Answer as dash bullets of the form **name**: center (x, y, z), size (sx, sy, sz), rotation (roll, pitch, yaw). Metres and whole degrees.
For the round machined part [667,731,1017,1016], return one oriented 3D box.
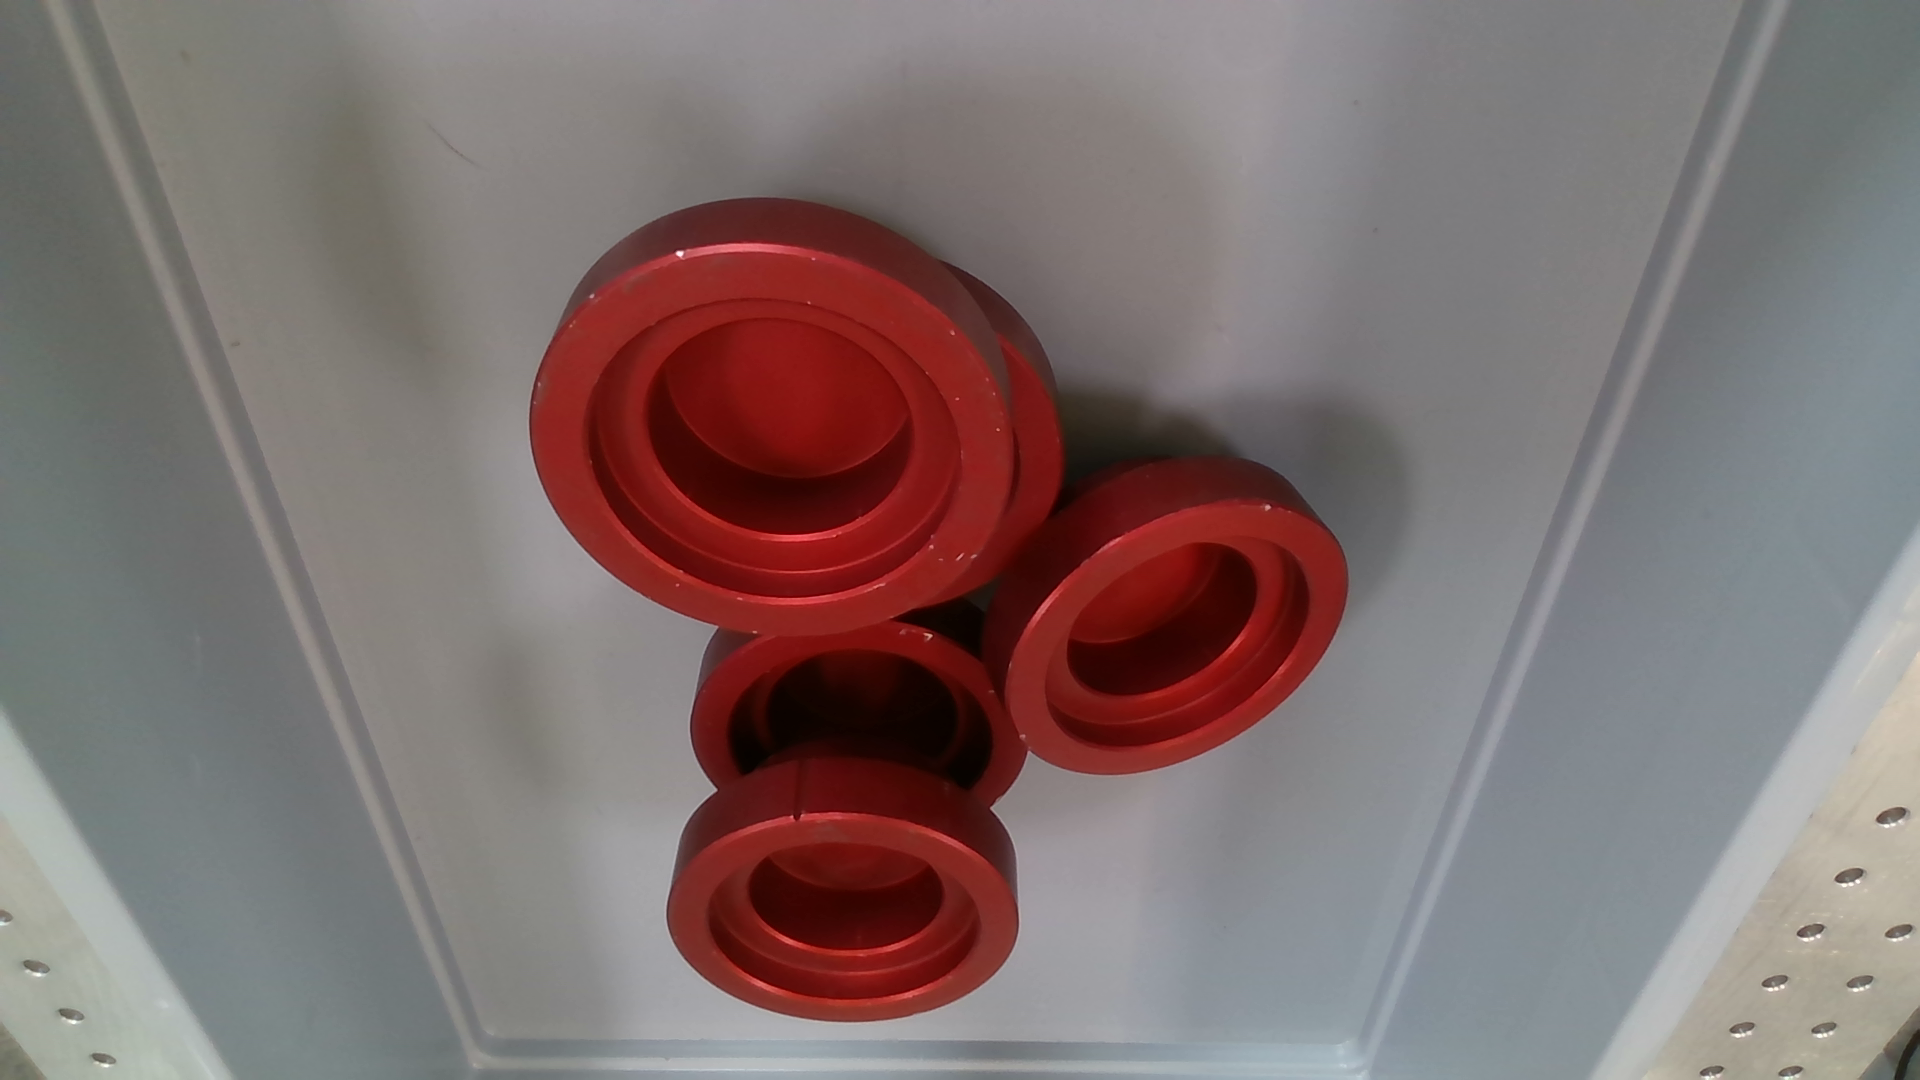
- **round machined part**: center (-0.033, 0.094, 0.402), size (0.098, 0.042, 0.098), rotation (0, 130, 0)

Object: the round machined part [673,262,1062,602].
- **round machined part**: center (-0.024, -0.032, 0.350), size (0.098, 0.042, 0.098), rotation (0, 130, 0)

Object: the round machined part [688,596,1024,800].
- **round machined part**: center (-0.030, 0.045, 0.415), size (0.098, 0.042, 0.098), rotation (0, 130, 0)

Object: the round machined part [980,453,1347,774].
- **round machined part**: center (0.051, 0.016, 0.377), size (0.098, 0.042, 0.098), rotation (-12, 133, -13)

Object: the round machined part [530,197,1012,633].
- **round machined part**: center (-0.038, -0.029, 0.298), size (0.098, 0.042, 0.098), rotation (0, 130, 0)
